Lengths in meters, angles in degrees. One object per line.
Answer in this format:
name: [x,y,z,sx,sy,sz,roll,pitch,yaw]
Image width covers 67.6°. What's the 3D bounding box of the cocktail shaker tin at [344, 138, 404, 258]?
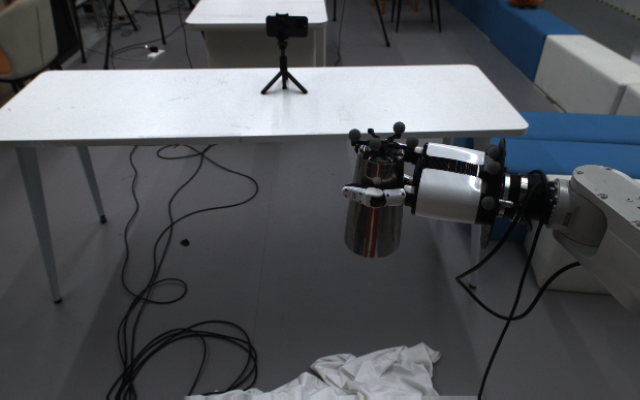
cocktail shaker tin: [0.089,-0.007,0.739,0.093,0.170,0.093,1,39,-1]
